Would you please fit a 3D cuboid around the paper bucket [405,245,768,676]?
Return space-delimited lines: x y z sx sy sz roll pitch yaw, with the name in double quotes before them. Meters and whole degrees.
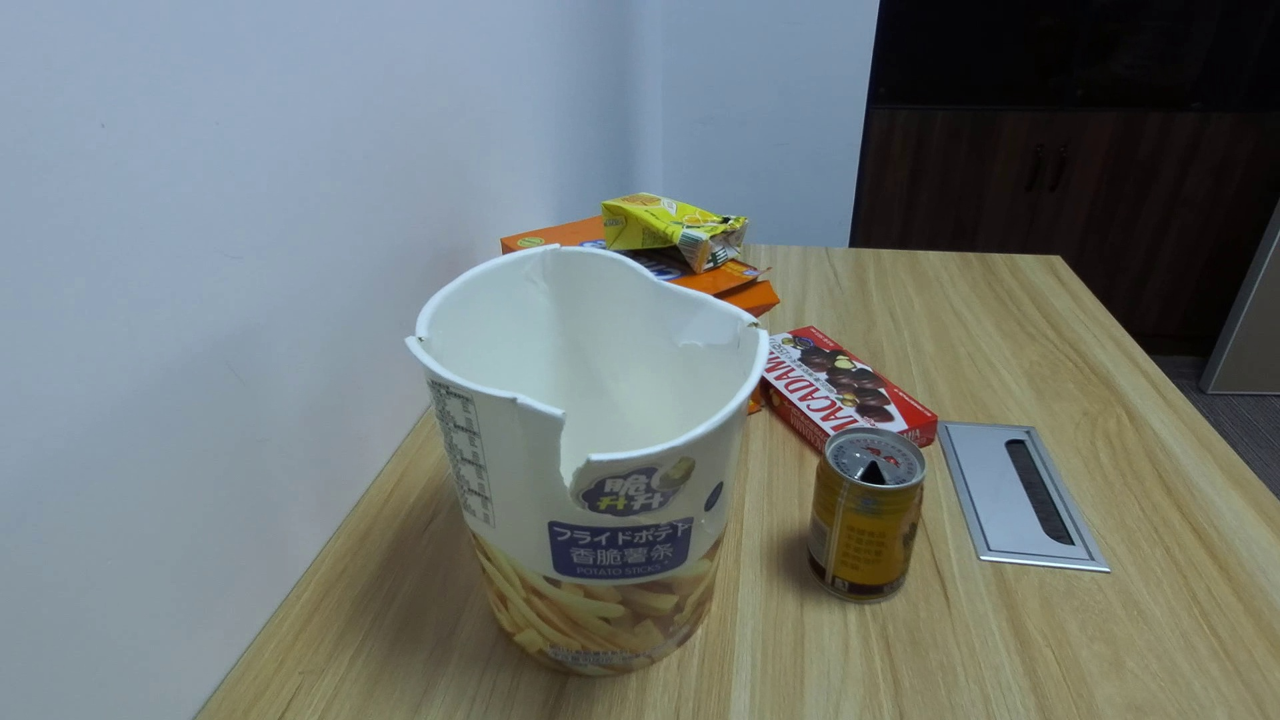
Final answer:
"paper bucket" -0.026 0.059 0.408 0.201 0.197 0.146 24 41 36

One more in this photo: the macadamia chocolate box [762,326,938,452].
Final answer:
"macadamia chocolate box" 0.164 0.028 0.625 0.096 0.027 0.177 -15 33 -18

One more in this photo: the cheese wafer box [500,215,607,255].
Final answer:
"cheese wafer box" -0.008 -0.037 0.639 0.150 0.137 0.226 -21 36 -31

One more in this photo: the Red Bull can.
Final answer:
"Red Bull can" 0.142 0.096 0.445 0.068 0.093 0.068 -1 31 1

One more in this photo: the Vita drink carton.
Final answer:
"Vita drink carton" 0.029 -0.107 0.597 0.108 0.042 0.087 21 29 28
